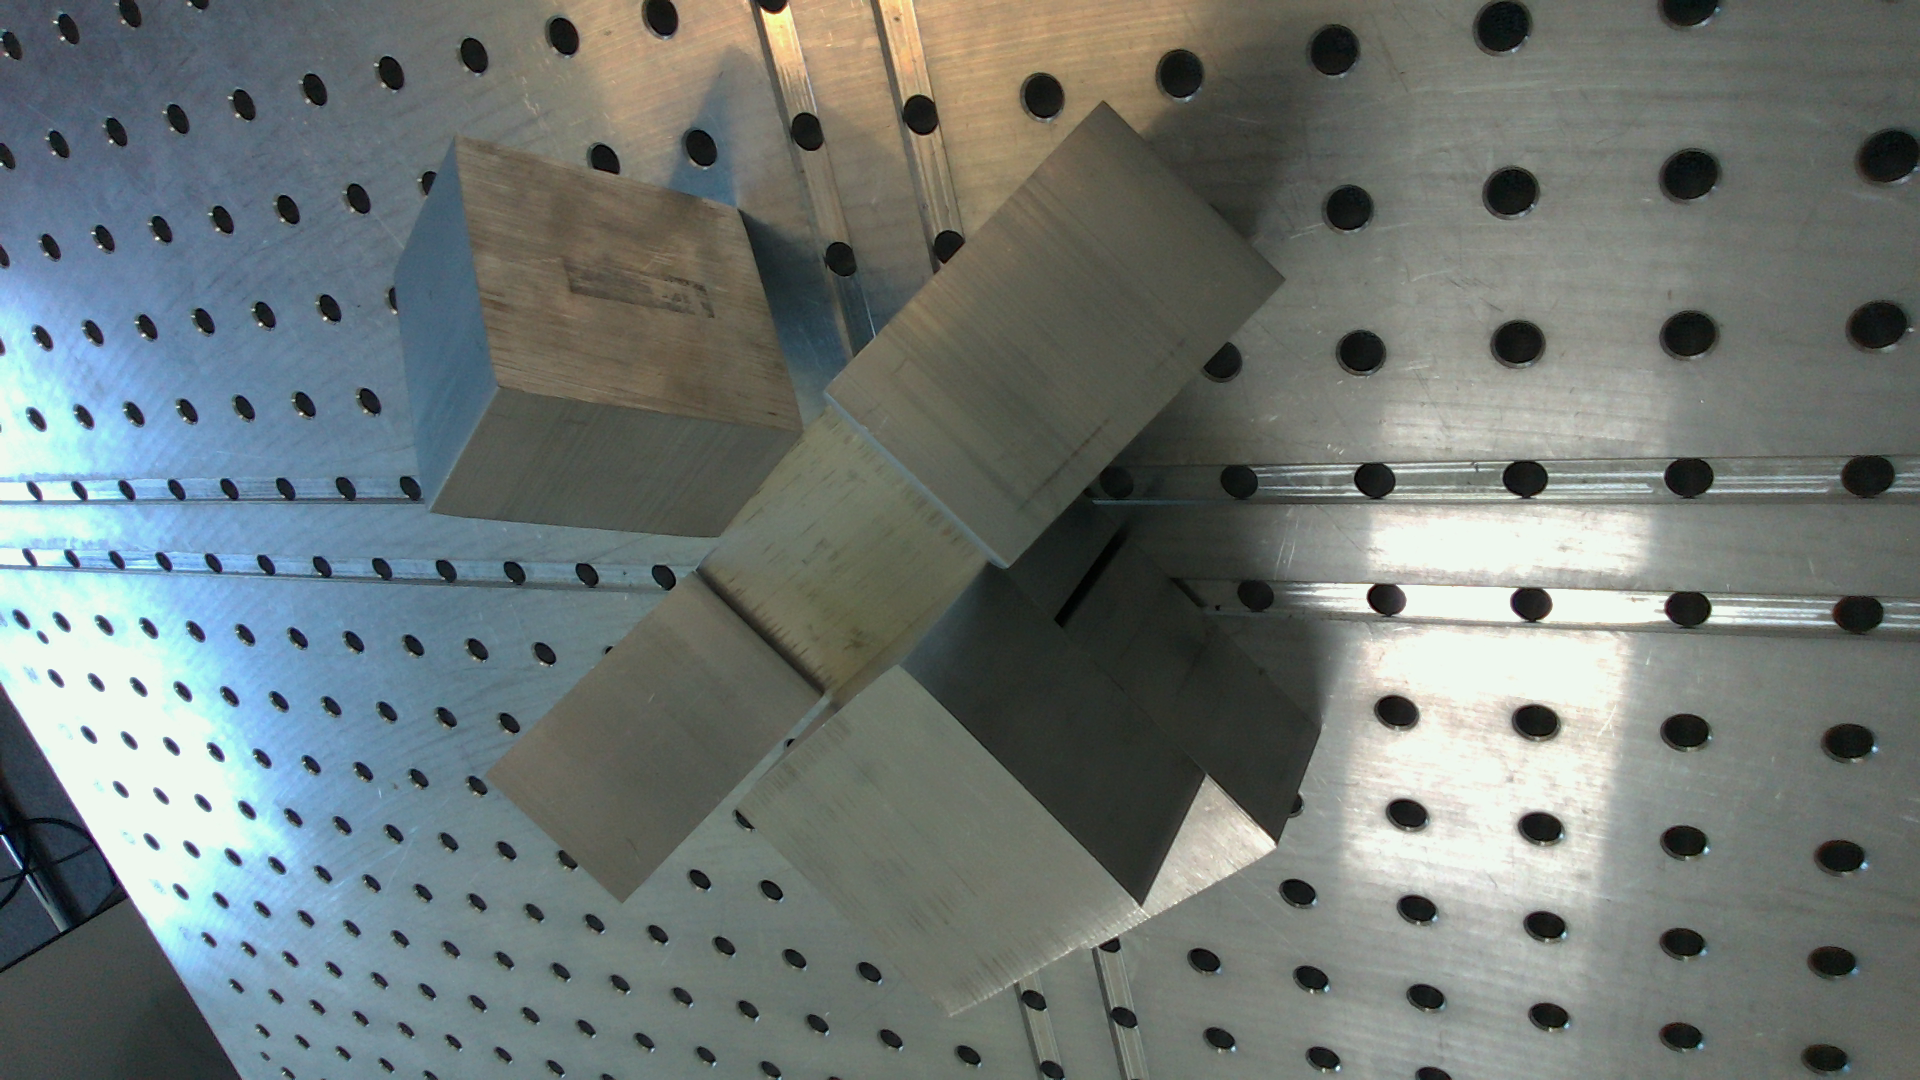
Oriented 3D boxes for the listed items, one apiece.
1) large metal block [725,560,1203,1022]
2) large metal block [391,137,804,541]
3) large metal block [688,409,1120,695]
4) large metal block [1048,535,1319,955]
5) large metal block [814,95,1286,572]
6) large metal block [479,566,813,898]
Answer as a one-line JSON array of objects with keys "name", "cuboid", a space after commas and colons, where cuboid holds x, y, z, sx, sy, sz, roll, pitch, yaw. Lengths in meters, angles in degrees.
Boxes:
[{"name": "large metal block", "cuboid": [0.001, 0.065, 0.354, 0.080, 0.050, 0.080, 44, 128, -3]}, {"name": "large metal block", "cuboid": [-0.097, -0.050, 0.361, 0.050, 0.080, 0.080, -44, 54, 39]}, {"name": "large metal block", "cuboid": [-0.017, 0.002, 0.390, 0.080, 0.050, 0.080, 44, 129, -2]}, {"name": "large metal block", "cuboid": [0.041, 0.060, 0.394, 0.080, 0.050, 0.080, 46, 128, -2]}, {"name": "large metal block", "cuboid": [0.017, -0.040, 0.306, 0.050, 0.080, 0.080, 44, 89, -2]}, {"name": "large metal block", "cuboid": [-0.092, 0.057, 0.426, 0.050, 0.080, 0.080, 44, 171, -1]}]
